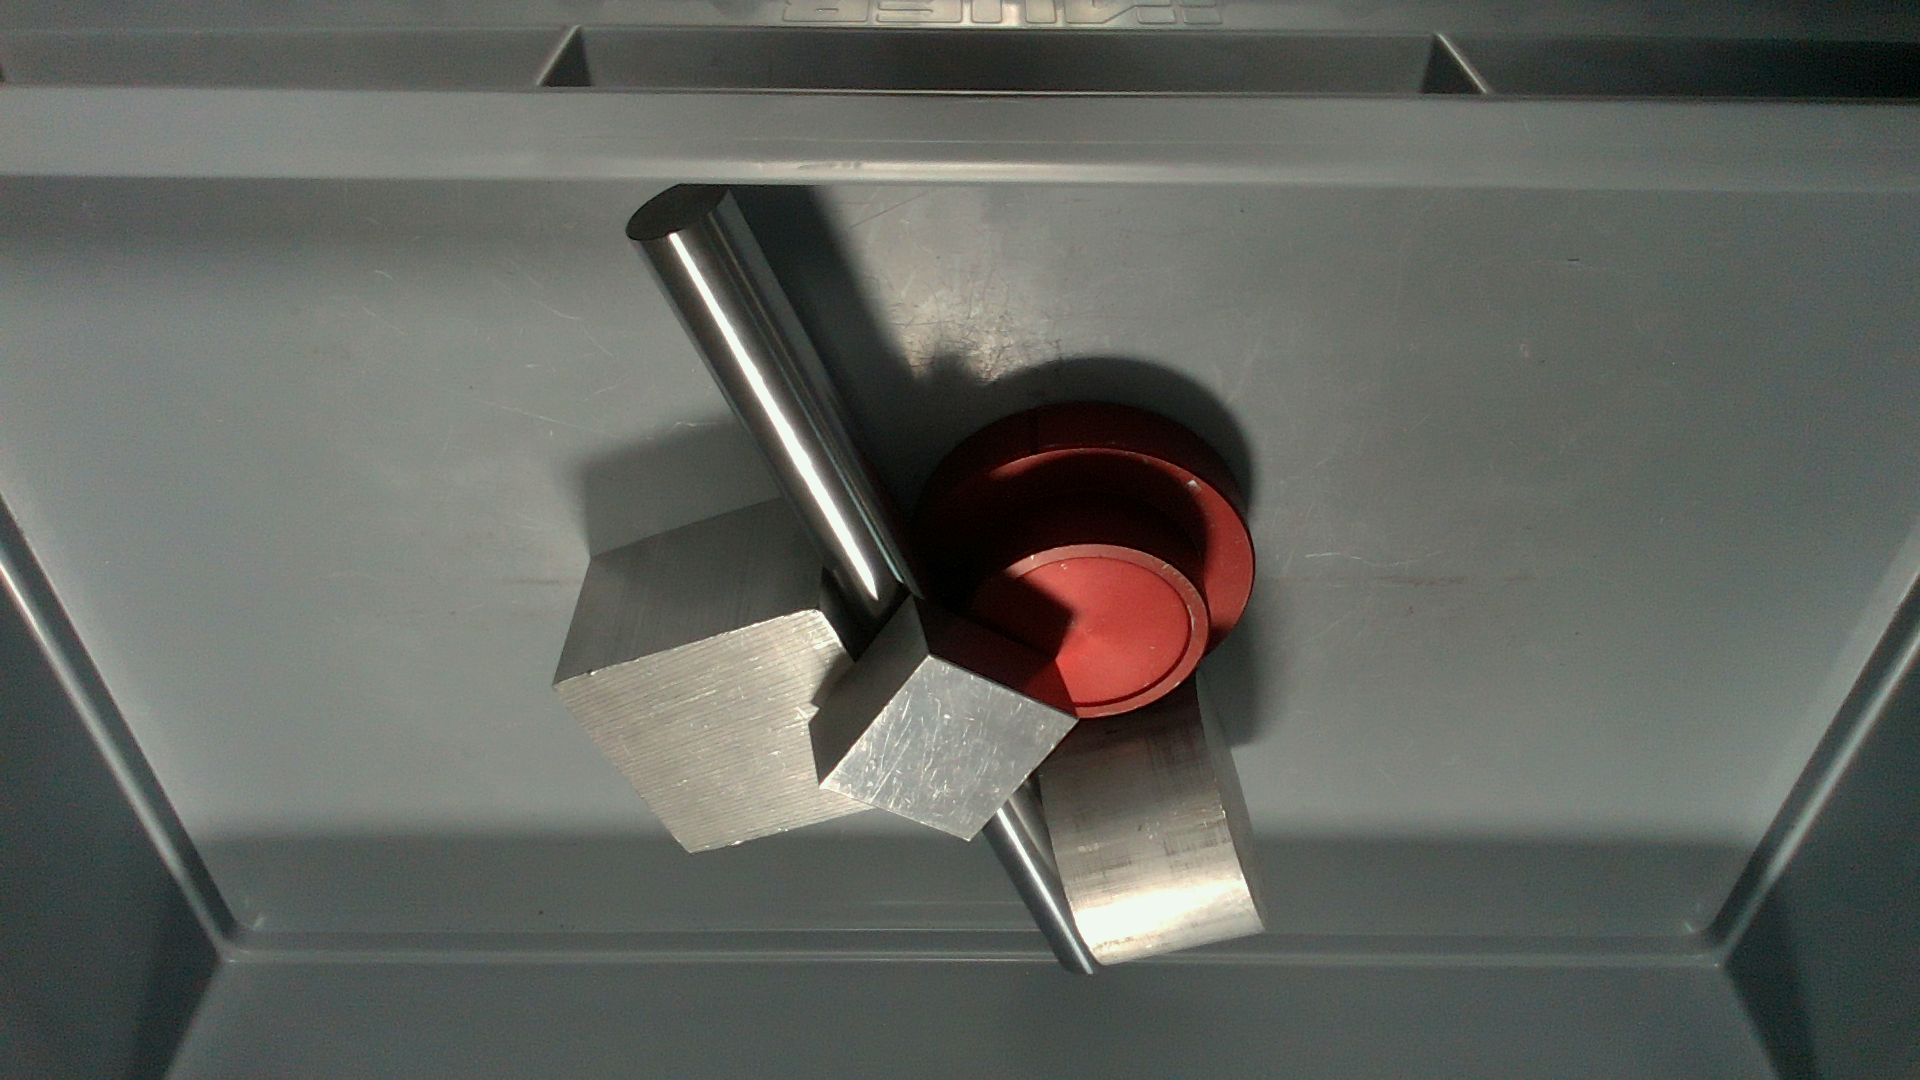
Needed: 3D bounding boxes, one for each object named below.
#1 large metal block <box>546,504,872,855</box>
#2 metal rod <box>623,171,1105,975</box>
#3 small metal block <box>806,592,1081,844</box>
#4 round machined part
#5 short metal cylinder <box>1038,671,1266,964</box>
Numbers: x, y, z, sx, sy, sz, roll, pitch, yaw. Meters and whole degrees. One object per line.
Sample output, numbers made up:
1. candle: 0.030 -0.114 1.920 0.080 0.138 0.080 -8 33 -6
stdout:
1. large metal block: -0.059 0.040 0.403 0.080 0.050 0.080 -16 128 13
2. metal rod: -0.009 0.034 0.390 0.025 0.025 0.301 -16 128 13
3. small metal block: -0.005 0.048 0.367 0.050 0.025 0.050 26 114 -29
4. round machined part: 0.035 0.012 0.388 0.098 0.042 0.098 0 130 0
5. short metal cylinder: 0.060 0.085 0.426 0.050 0.080 0.080 -16 128 13
